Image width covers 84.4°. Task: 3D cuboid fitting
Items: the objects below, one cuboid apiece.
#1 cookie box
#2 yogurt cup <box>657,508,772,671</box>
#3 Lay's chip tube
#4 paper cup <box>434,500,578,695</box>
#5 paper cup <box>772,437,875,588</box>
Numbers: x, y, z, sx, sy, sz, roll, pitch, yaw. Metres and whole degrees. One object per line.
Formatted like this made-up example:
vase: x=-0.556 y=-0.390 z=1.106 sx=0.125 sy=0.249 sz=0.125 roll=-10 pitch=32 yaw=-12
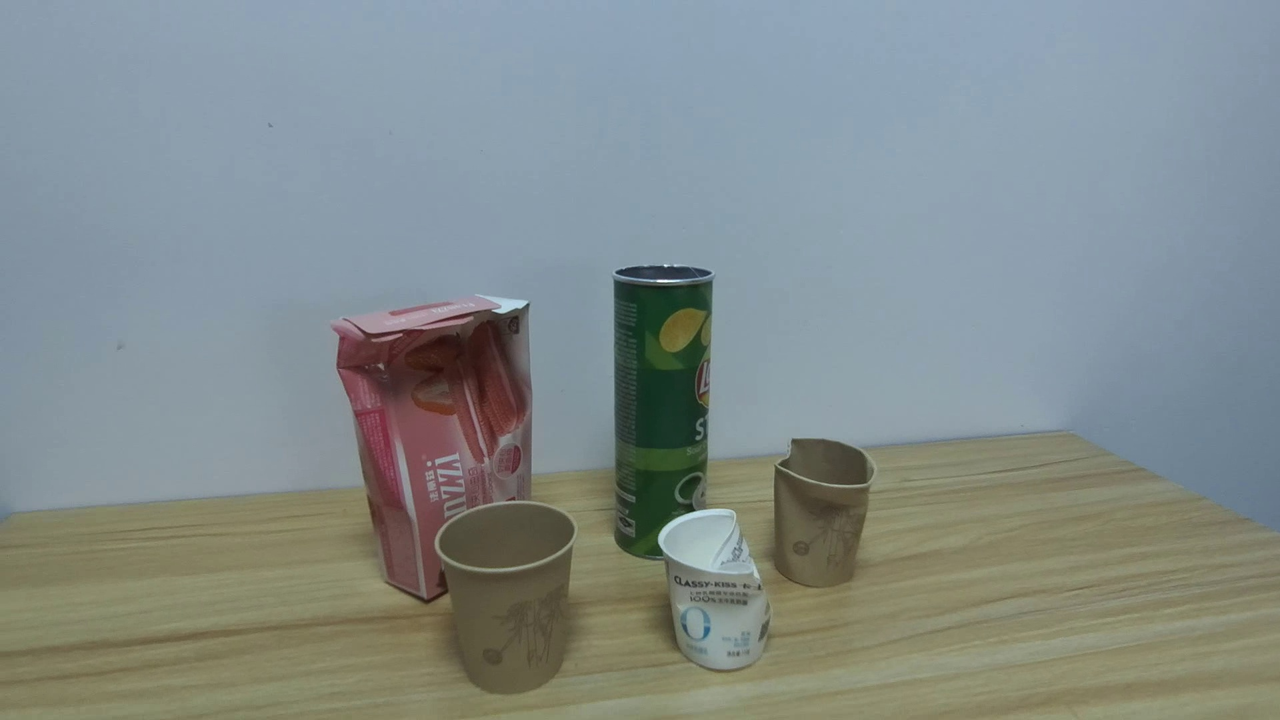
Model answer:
cookie box: x=-0.127 y=0.057 z=0.467 sx=0.055 sy=0.184 sz=0.119 roll=14 pitch=22 yaw=41
yogurt cup: x=0.043 y=0.133 z=0.404 sx=0.067 sy=0.070 sz=0.067 roll=1 pitch=18 yaw=0
Lay's chip tube: x=0.016 y=0.036 z=0.500 sx=0.071 sy=0.202 sz=0.071 roll=1 pitch=16 yaw=0
paper cup: x=-0.070 y=0.130 z=0.385 sx=0.075 sy=0.082 sz=0.075 roll=0 pitch=16 yaw=0
paper cup: x=0.124 y=0.103 z=0.478 sx=0.066 sy=0.084 sz=0.072 roll=6 pitch=17 yaw=22
